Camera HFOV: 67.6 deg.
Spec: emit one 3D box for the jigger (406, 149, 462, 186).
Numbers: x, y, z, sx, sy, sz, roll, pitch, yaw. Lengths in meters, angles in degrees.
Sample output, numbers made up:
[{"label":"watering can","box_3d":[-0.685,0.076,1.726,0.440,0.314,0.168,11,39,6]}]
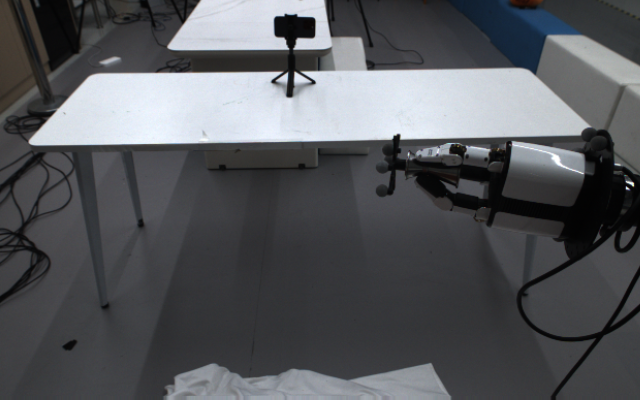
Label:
[{"label":"jigger","box_3d":[0.154,-0.047,0.631,0.071,0.043,0.043,8,35,14]}]
